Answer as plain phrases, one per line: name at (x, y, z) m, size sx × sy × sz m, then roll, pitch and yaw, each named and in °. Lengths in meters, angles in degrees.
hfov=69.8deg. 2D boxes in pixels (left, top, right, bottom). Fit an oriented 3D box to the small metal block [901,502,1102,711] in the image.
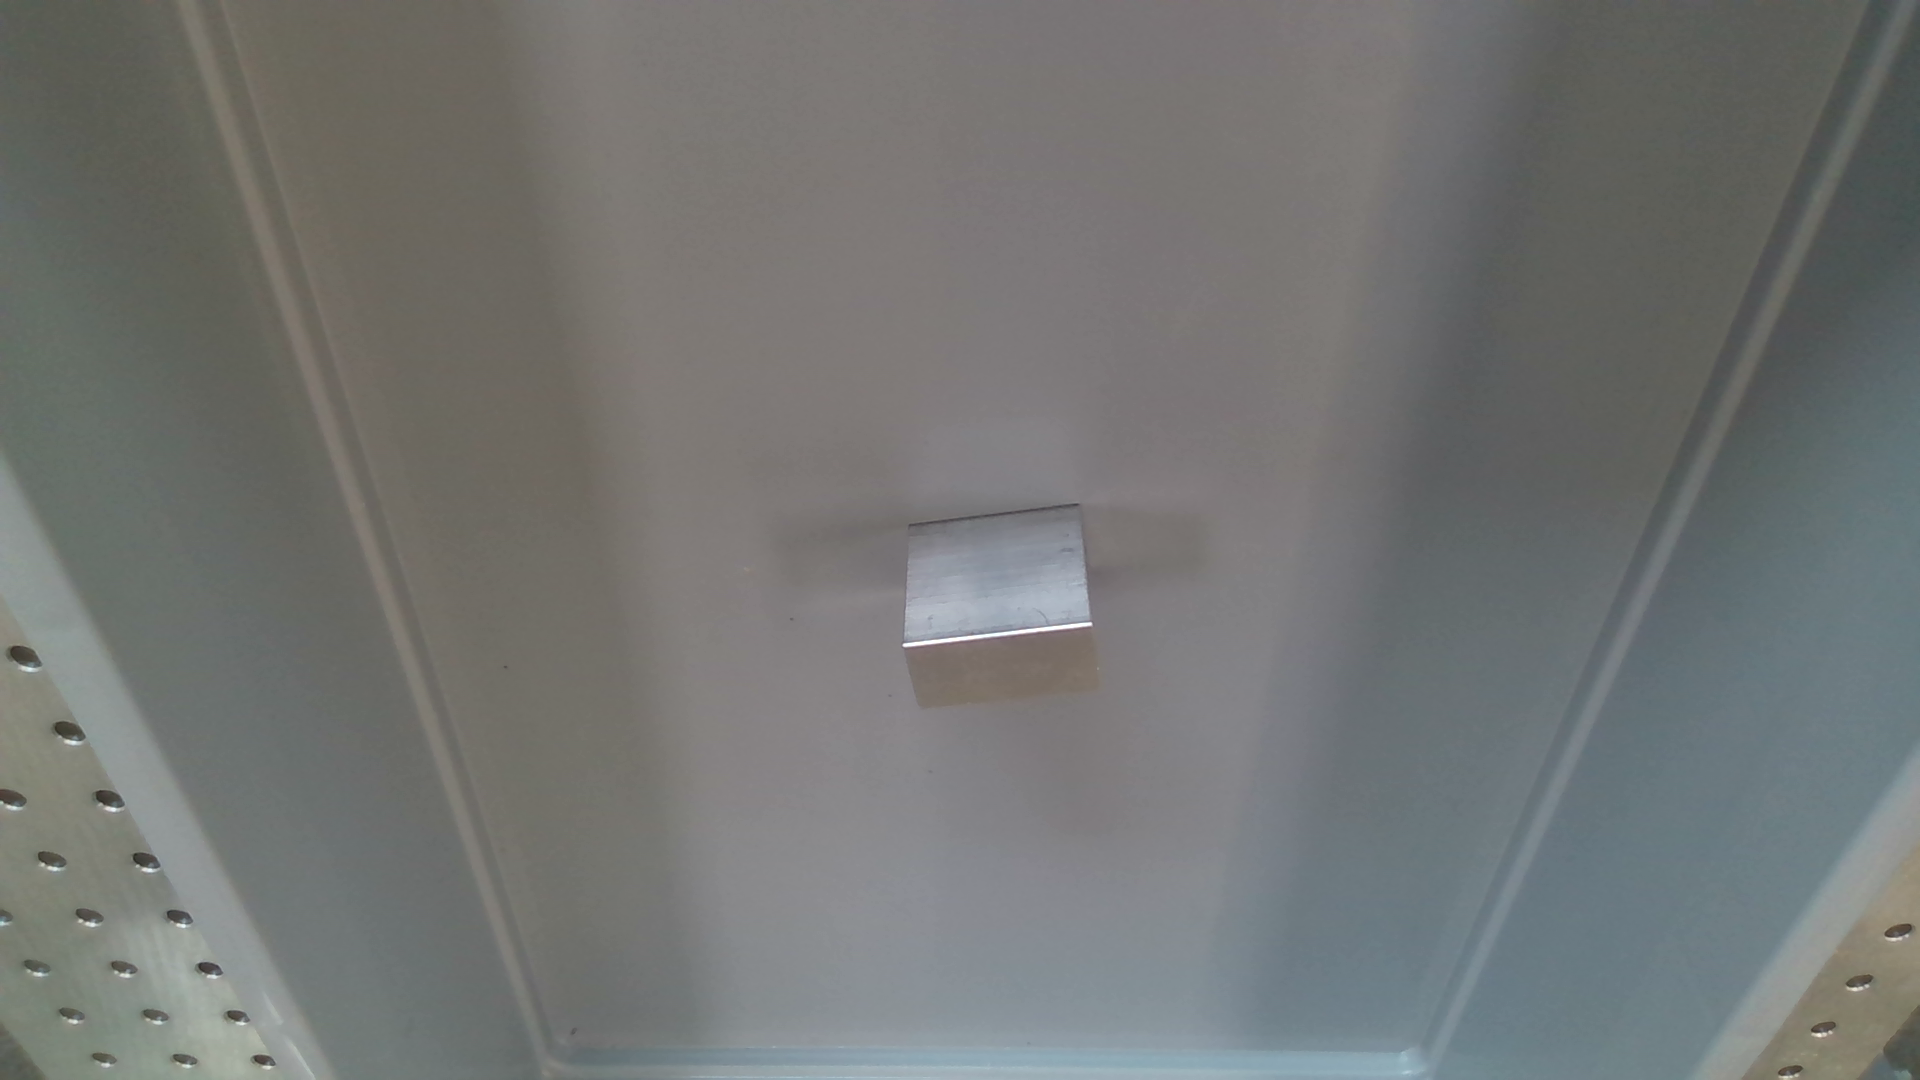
small metal block at (0.011, 0.018, 0.383) m, size 0.050 × 0.050 × 0.025 m, roll -7°, pitch 130°, yaw 5°
